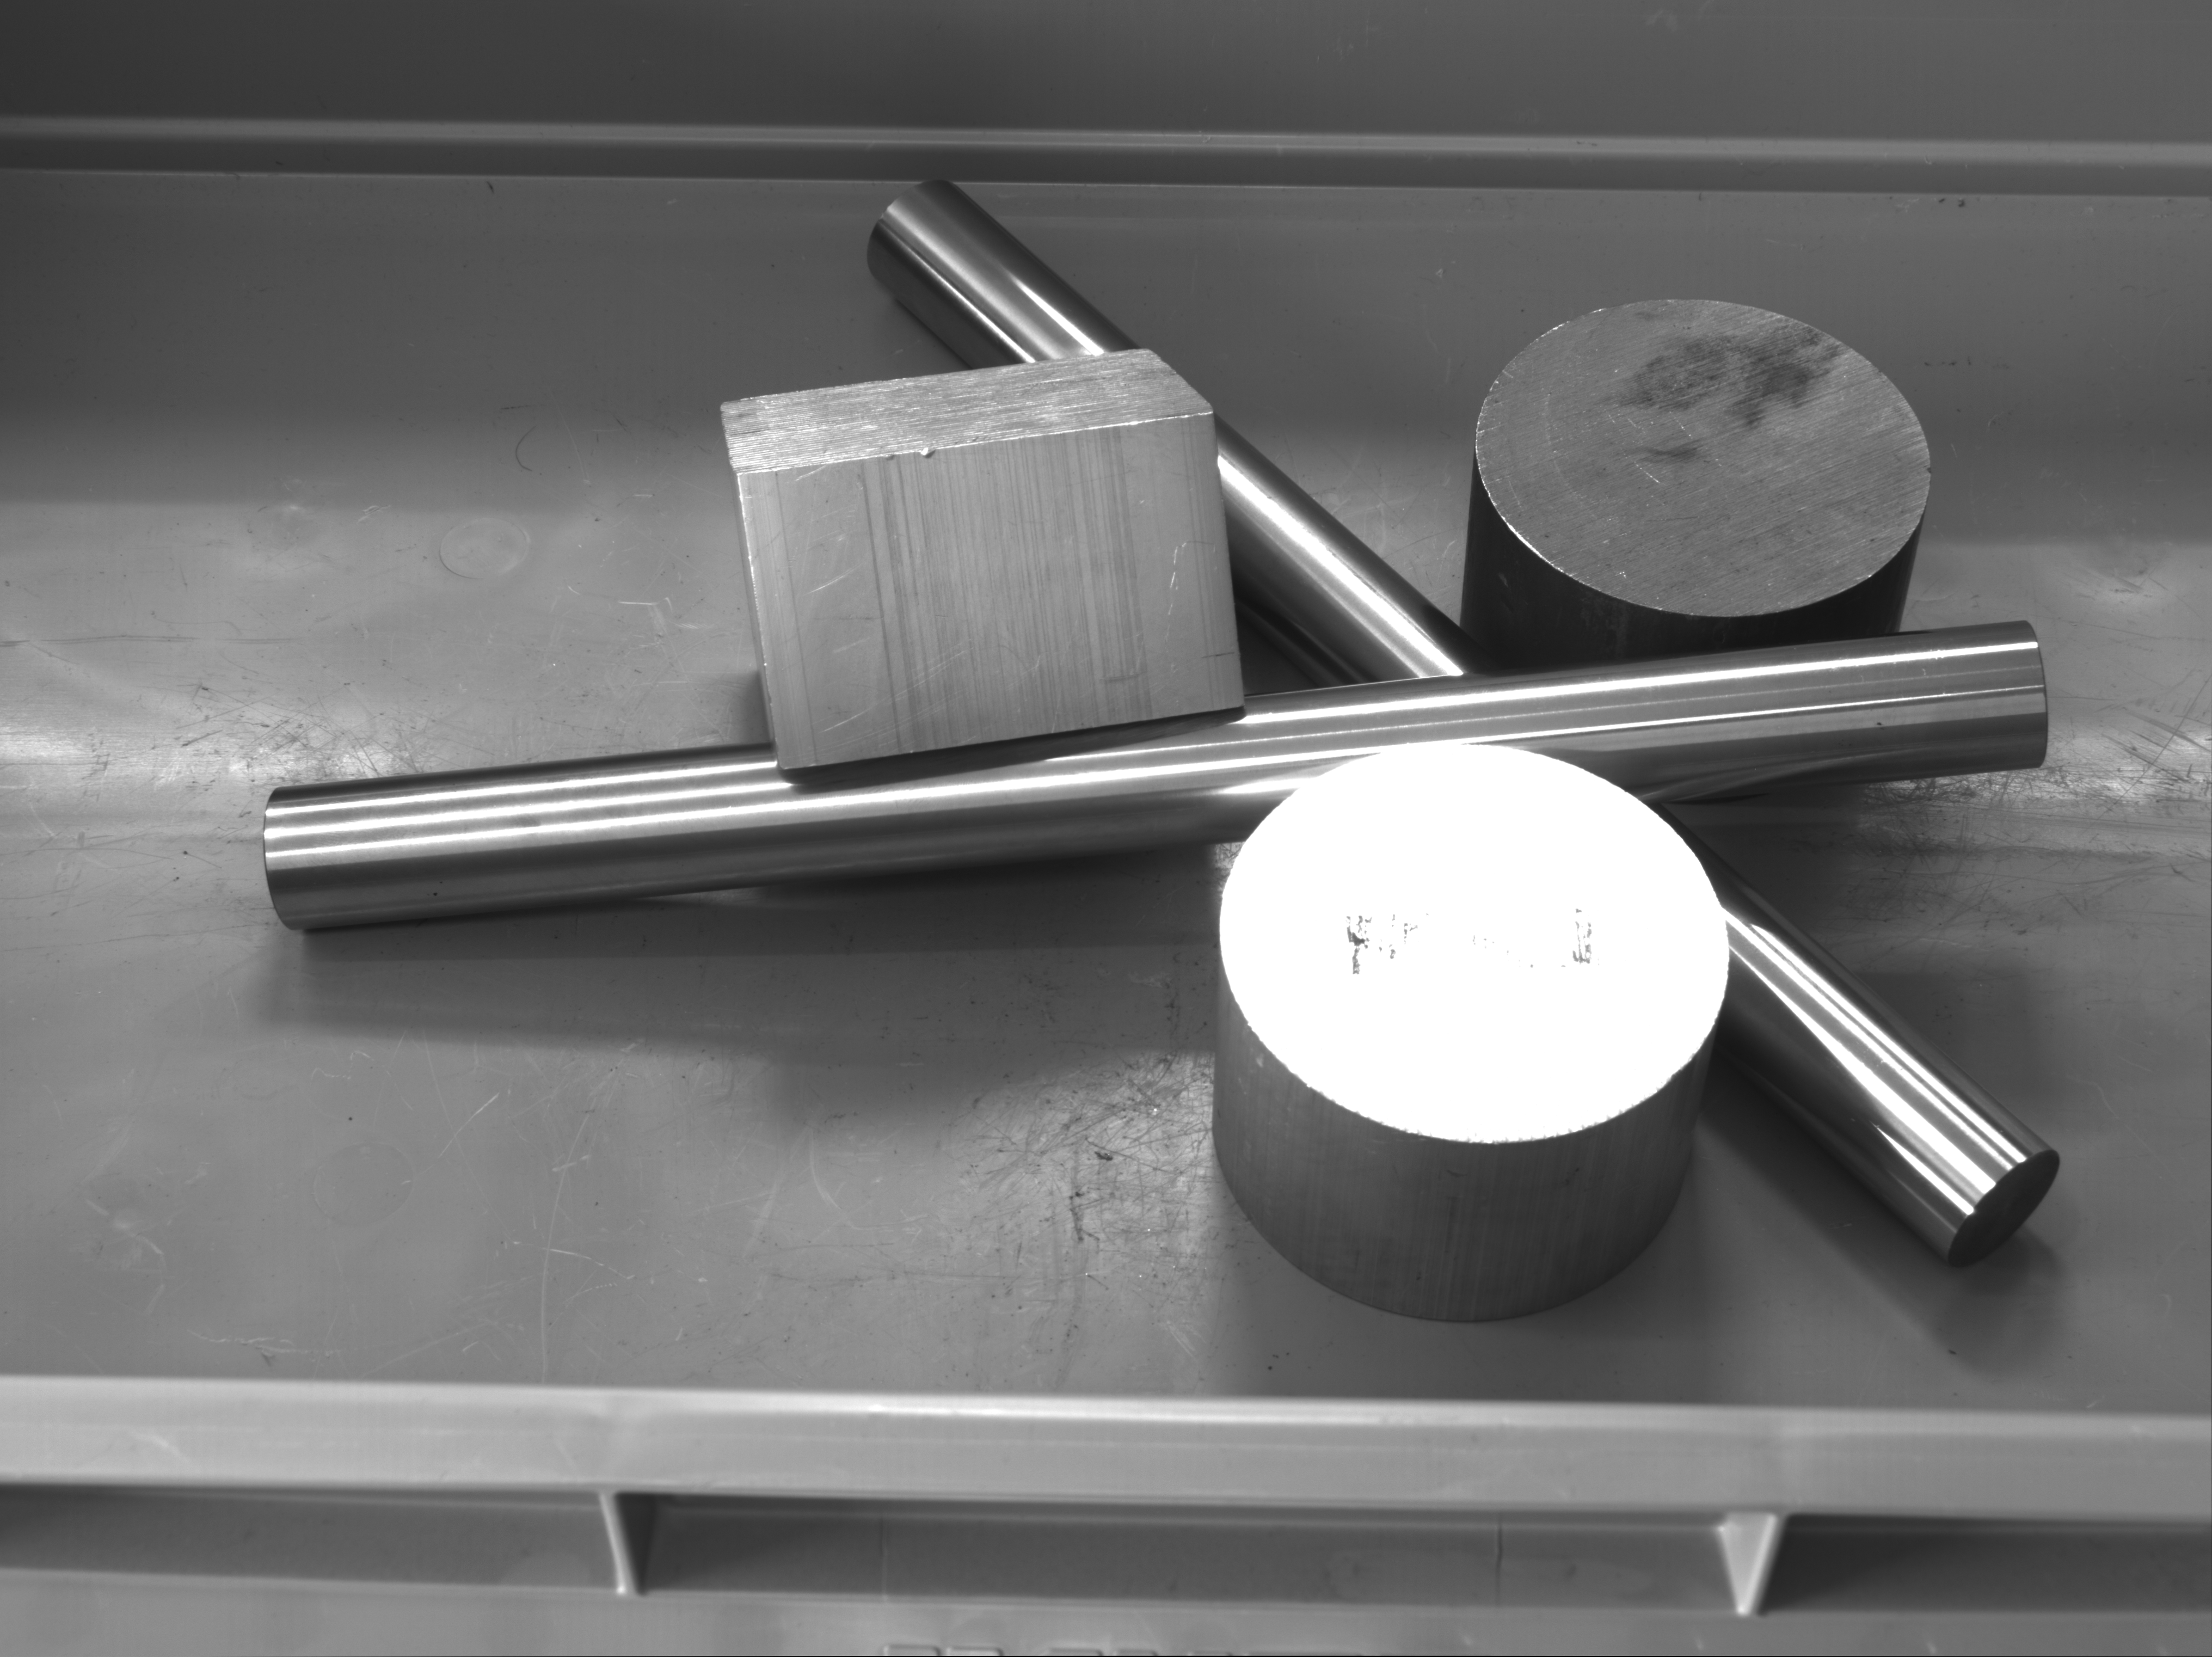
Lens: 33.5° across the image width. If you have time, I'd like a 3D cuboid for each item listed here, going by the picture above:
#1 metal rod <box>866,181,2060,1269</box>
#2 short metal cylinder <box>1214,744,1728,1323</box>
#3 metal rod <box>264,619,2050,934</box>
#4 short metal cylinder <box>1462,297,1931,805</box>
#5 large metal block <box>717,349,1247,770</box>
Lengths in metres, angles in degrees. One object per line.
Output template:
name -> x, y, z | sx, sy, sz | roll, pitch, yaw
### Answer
metal rod -> 0.053, -0.029, 0.666 | 0.025, 0.025, 0.299 | -31, 56, -23
short metal cylinder -> 0.058, 0.033, 0.597 | 0.080, 0.050, 0.080 | 0, 50, 0
metal rod -> 0.007, -0.008, 0.626 | 0.300, 0.025, 0.025 | -5, 50, 4
short metal cylinder -> 0.106, -0.051, 0.668 | 0.080, 0.050, 0.080 | 0, 50, 0
large metal block -> -0.024, -0.049, 0.643 | 0.080, 0.050, 0.080 | -8, 15, -6
